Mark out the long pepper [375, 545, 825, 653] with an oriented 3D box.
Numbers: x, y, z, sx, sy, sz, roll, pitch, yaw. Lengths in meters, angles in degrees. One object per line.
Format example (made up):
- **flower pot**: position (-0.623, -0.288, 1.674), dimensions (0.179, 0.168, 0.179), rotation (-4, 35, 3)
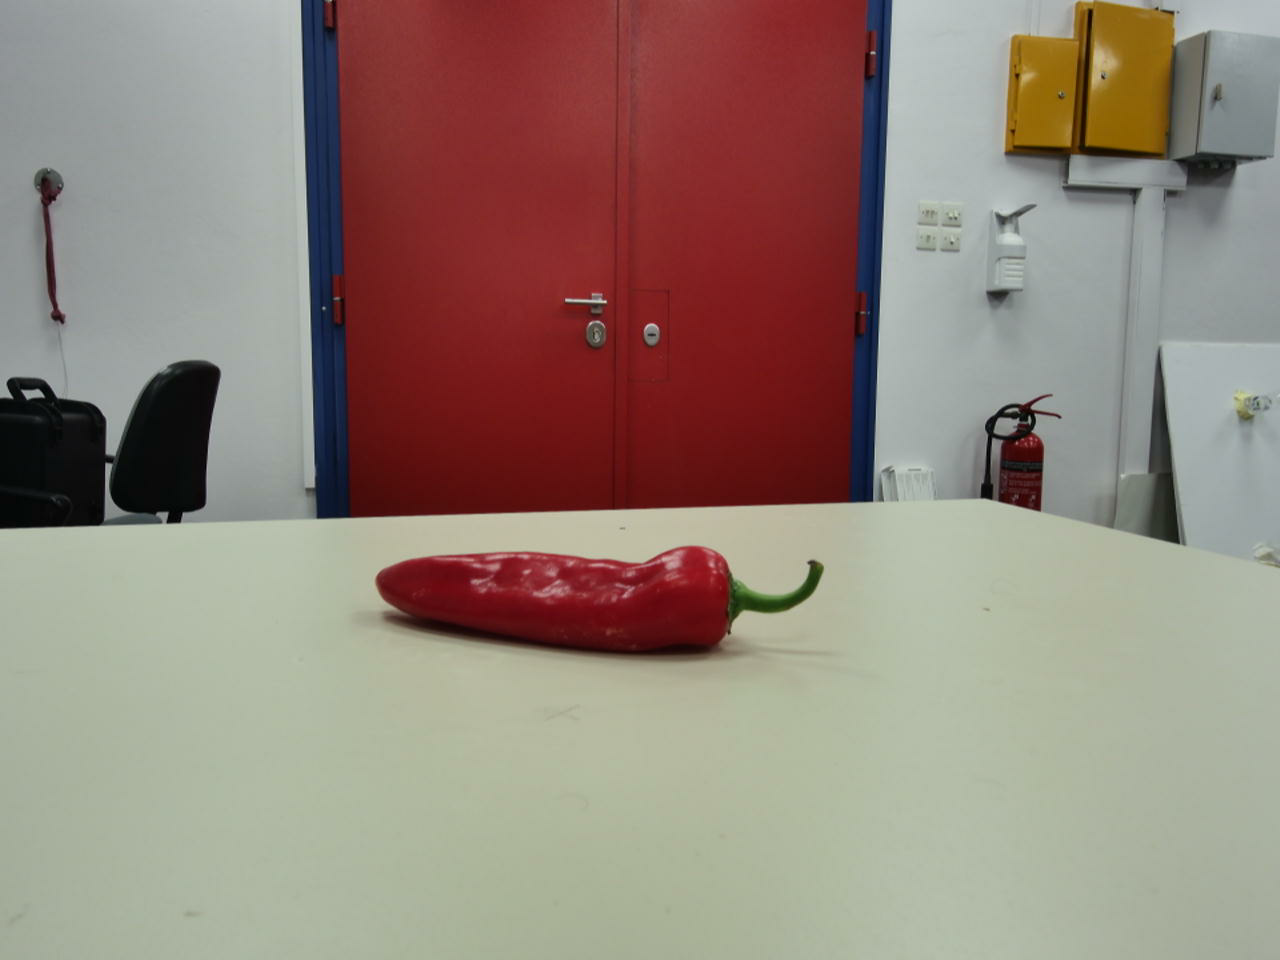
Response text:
- **long pepper**: position (-0.028, 0.049, 0.436), dimensions (0.211, 0.043, 0.050), rotation (1, 4, 19)
